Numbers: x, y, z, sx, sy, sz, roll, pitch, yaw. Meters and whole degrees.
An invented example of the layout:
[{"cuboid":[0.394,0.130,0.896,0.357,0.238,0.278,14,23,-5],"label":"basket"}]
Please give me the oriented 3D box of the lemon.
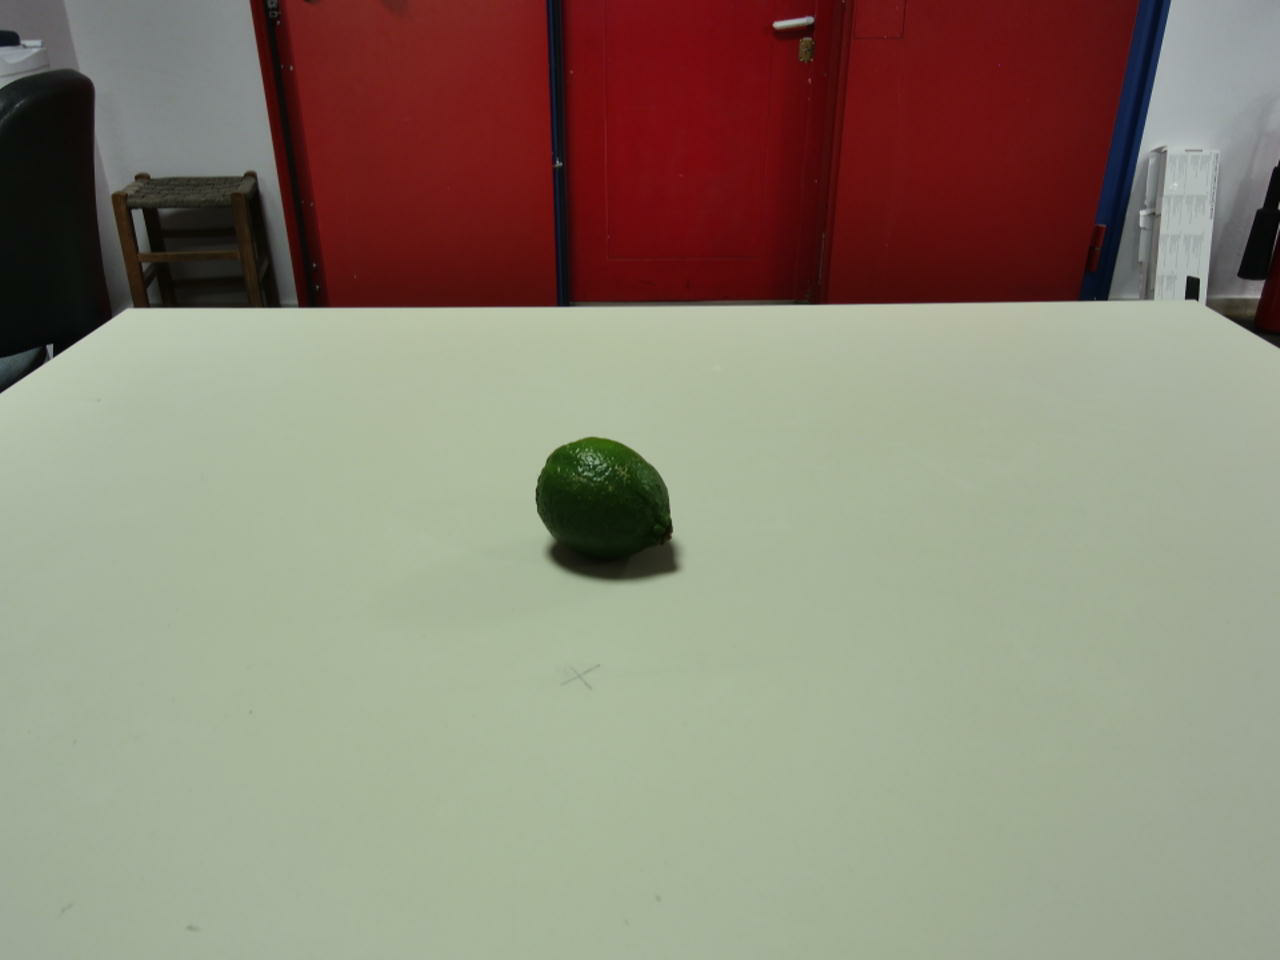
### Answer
[{"cuboid":[-0.016,0.007,0.431,0.057,0.051,0.054,-2,24,-4],"label":"lemon"}]
